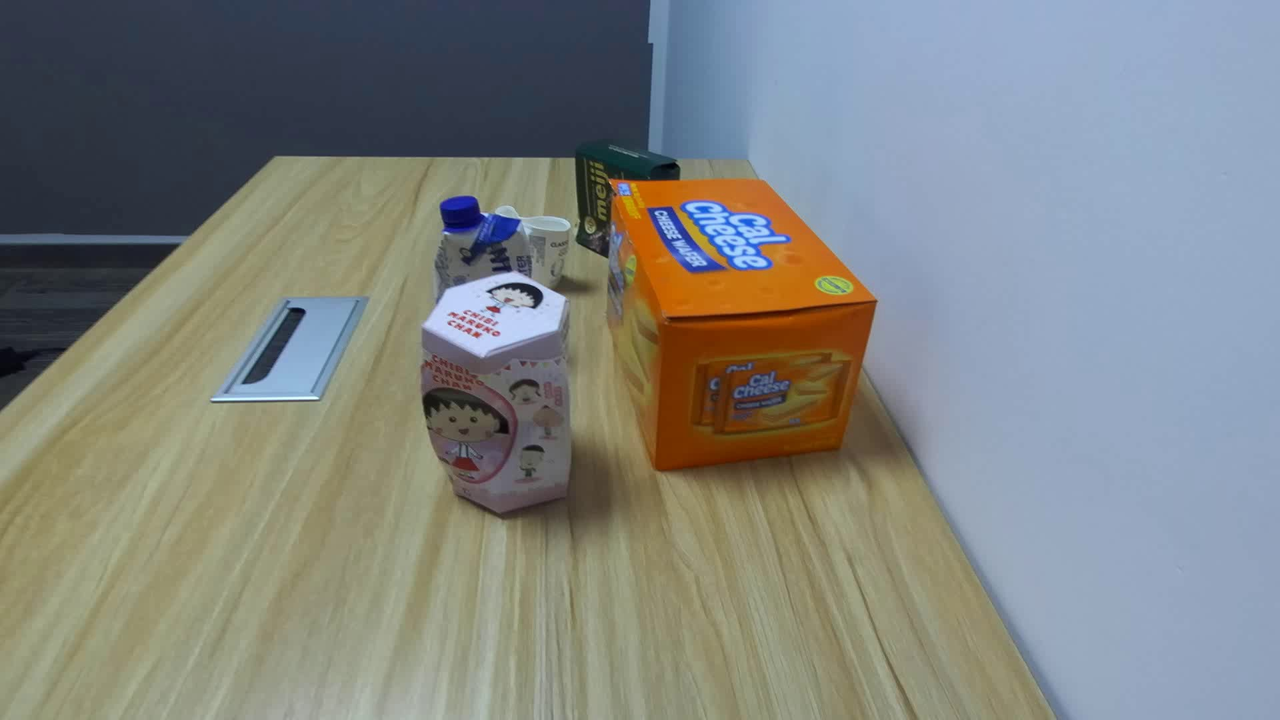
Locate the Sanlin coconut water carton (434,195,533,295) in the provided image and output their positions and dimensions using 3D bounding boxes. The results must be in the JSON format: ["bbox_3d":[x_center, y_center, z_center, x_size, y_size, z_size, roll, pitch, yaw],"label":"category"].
[{"bbox_3d":[-0.124,-0.056,0.561,0.068,0.144,0.056,11,40,2],"label":"Sanlin coconut water carton"}]

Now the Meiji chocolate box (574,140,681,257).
[{"bbox_3d":[-0.014,-0.160,0.733,0.059,0.116,0.122,-24,42,-38],"label":"Meiji chocolate box"}]

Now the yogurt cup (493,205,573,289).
[{"bbox_3d":[-0.105,-0.109,0.692,0.075,0.071,0.053,4,35,2],"label":"yogurt cup"}]

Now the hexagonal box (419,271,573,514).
[{"bbox_3d":[-0.089,0.023,0.456,0.089,0.135,0.093,-1,36,-5],"label":"hexagonal box"}]

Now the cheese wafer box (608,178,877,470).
[{"bbox_3d":[0.060,-0.043,0.556,0.150,0.137,0.226,-5,36,-10],"label":"cheese wafer box"}]
